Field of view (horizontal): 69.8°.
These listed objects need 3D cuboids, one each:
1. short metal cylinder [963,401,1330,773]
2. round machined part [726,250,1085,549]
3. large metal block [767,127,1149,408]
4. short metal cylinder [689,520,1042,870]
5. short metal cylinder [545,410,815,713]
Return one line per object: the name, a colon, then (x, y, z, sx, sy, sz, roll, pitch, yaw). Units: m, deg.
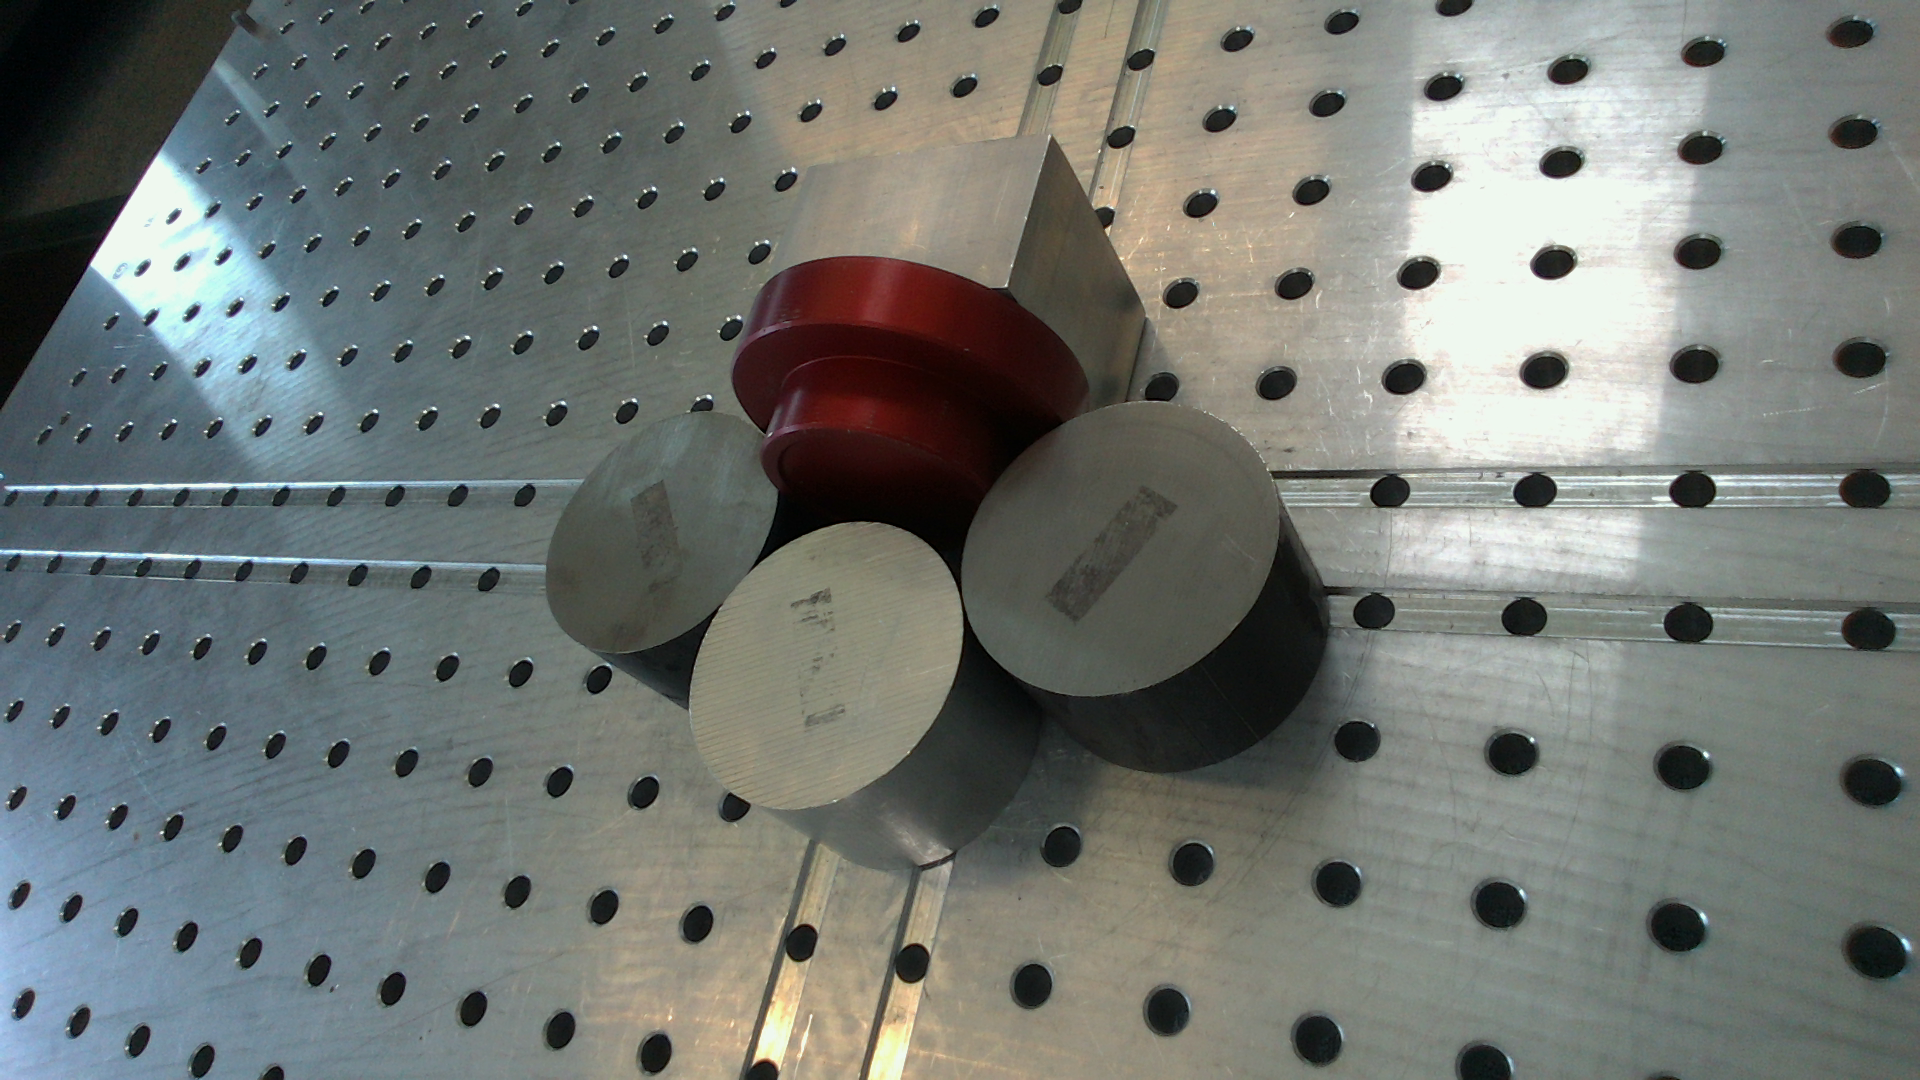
short metal cylinder: (0.048, 0.012, 0.348, 0.080, 0.050, 0.080, -13, 56, 21)
round machined part: (-0.017, -0.031, 0.376, 0.098, 0.098, 0.042, 2, 62, 29)
large metal block: (0.001, -0.068, 0.402, 0.080, 0.080, 0.050, 1, 62, 29)
short metal cylinder: (-0.025, 0.042, 0.369, 0.080, 0.050, 0.080, -13, 56, 21)
short metal cylinder: (-0.077, 0.008, 0.418, 0.080, 0.050, 0.080, -13, 56, 21)
